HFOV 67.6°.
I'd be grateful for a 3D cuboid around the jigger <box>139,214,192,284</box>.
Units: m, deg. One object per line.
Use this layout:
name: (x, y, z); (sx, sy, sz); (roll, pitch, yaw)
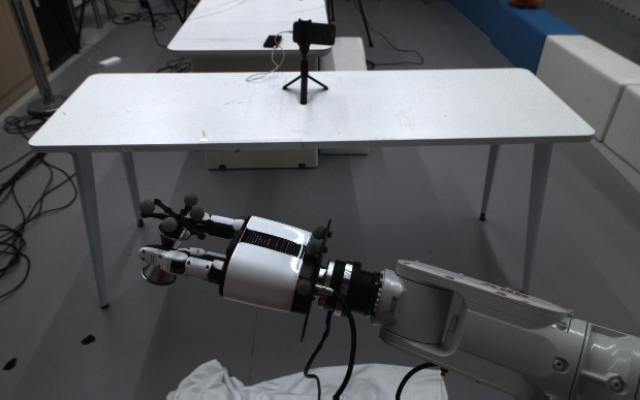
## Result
jigger: (-0.191, 0.066, 0.601); (0.043, 0.071, 0.043); (22, 19, -8)
